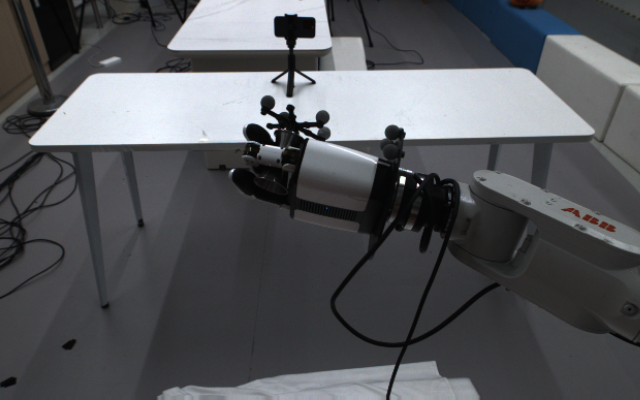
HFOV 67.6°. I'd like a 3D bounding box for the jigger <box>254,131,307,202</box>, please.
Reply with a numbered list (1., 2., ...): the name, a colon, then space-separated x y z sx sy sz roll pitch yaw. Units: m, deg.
1. jigger: -0.044 -0.045 0.582 0.043 0.043 0.071 12 71 14
